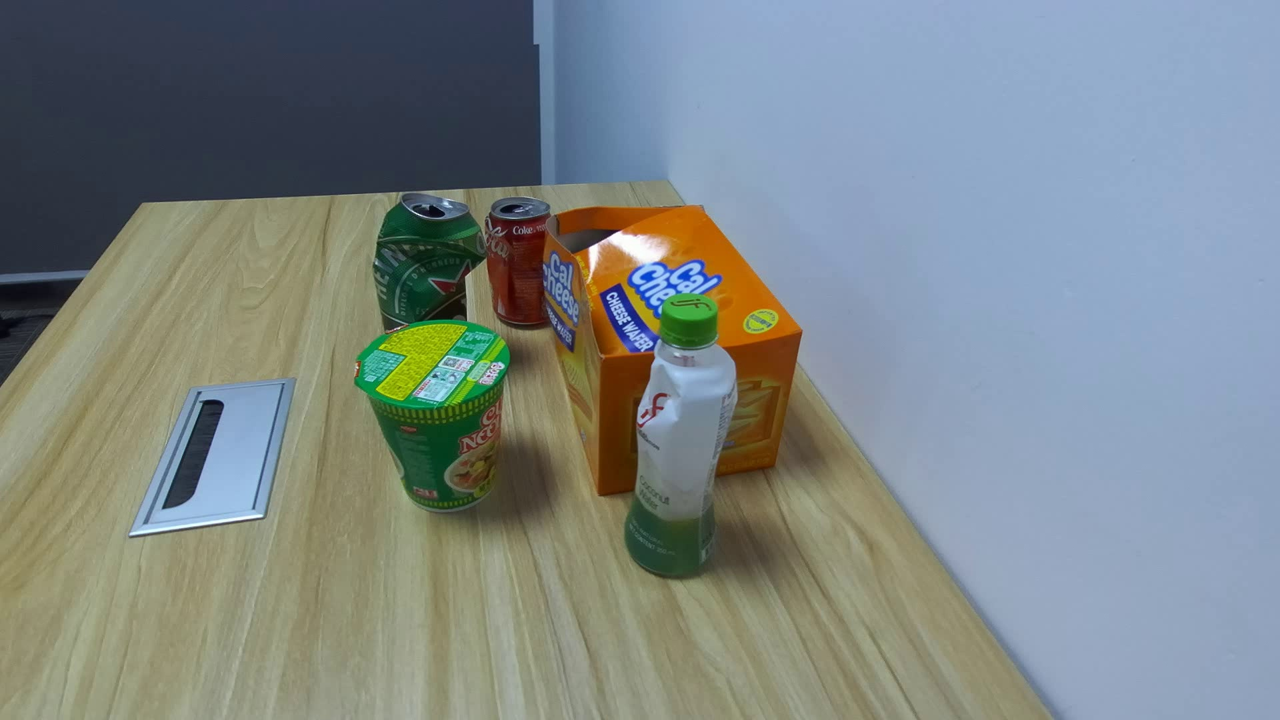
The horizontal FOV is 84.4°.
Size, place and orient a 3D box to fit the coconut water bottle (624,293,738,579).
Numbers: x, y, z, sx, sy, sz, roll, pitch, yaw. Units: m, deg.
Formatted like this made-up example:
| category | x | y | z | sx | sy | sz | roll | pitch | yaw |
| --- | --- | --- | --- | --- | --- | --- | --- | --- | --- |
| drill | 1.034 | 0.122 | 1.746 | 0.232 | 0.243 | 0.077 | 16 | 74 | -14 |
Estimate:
| category | x | y | z | sx | sy | sz | roll | pitch | yaw |
| --- | --- | --- | --- | --- | --- | --- | --- | --- | --- |
| coconut water bottle | 0.023 | 0.045 | 0.430 | 0.069 | 0.186 | 0.069 | 2 | 34 | -1 |

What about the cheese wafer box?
| category | x | y | z | sx | sy | sz | roll | pitch | yaw |
| --- | --- | --- | --- | --- | --- | --- | --- | --- | --- |
| cheese wafer box | 0.012 | -0.021 | 0.583 | 0.152 | 0.132 | 0.229 | -8 | 38 | -13 |

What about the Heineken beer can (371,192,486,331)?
| category | x | y | z | sx | sy | sz | roll | pitch | yaw |
| --- | --- | --- | --- | --- | --- | --- | --- | --- | --- |
| Heineken beer can | -0.178 | -0.057 | 0.591 | 0.079 | 0.159 | 0.067 | -18 | 42 | -37 |

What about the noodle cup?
| category | x | y | z | sx | sy | sz | roll | pitch | yaw |
| --- | --- | --- | --- | --- | --- | --- | --- | --- | --- |
| noodle cup | -0.137 | 0.043 | 0.493 | 0.097 | 0.110 | 0.097 | 2 | 37 | -1 |

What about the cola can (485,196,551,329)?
| category | x | y | z | sx | sy | sz | roll | pitch | yaw |
| --- | --- | --- | --- | --- | --- | --- | --- | --- | --- |
| cola can | -0.110 | -0.094 | 0.681 | 0.066 | 0.117 | 0.065 | -10 | 34 | -19 |
